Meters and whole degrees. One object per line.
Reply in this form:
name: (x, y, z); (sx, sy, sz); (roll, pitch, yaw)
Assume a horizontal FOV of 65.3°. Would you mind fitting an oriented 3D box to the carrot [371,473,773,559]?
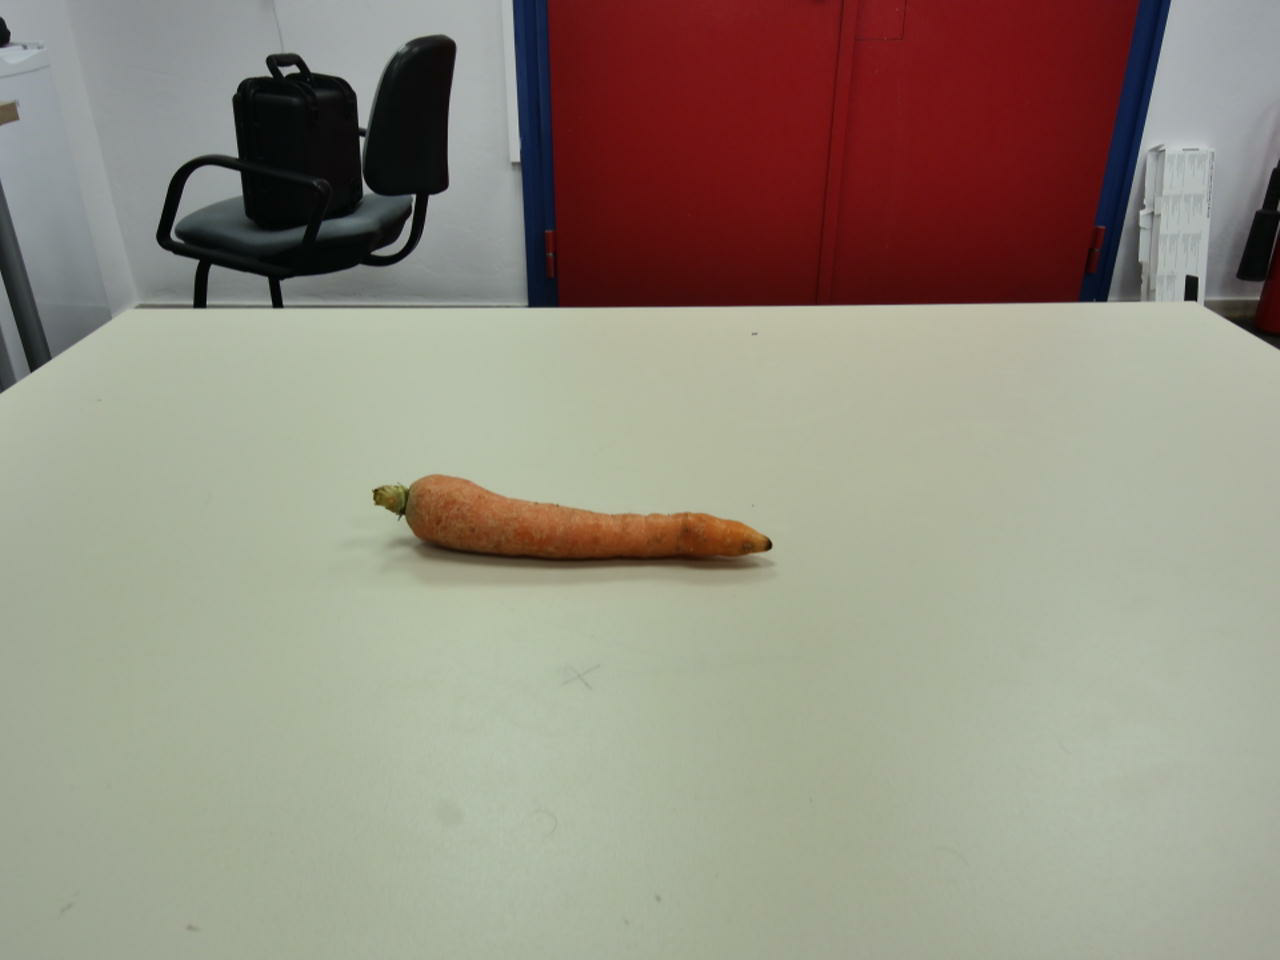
carrot: (-0.030, 0.018, 0.426); (0.173, 0.032, 0.030); (4, 25, 8)
